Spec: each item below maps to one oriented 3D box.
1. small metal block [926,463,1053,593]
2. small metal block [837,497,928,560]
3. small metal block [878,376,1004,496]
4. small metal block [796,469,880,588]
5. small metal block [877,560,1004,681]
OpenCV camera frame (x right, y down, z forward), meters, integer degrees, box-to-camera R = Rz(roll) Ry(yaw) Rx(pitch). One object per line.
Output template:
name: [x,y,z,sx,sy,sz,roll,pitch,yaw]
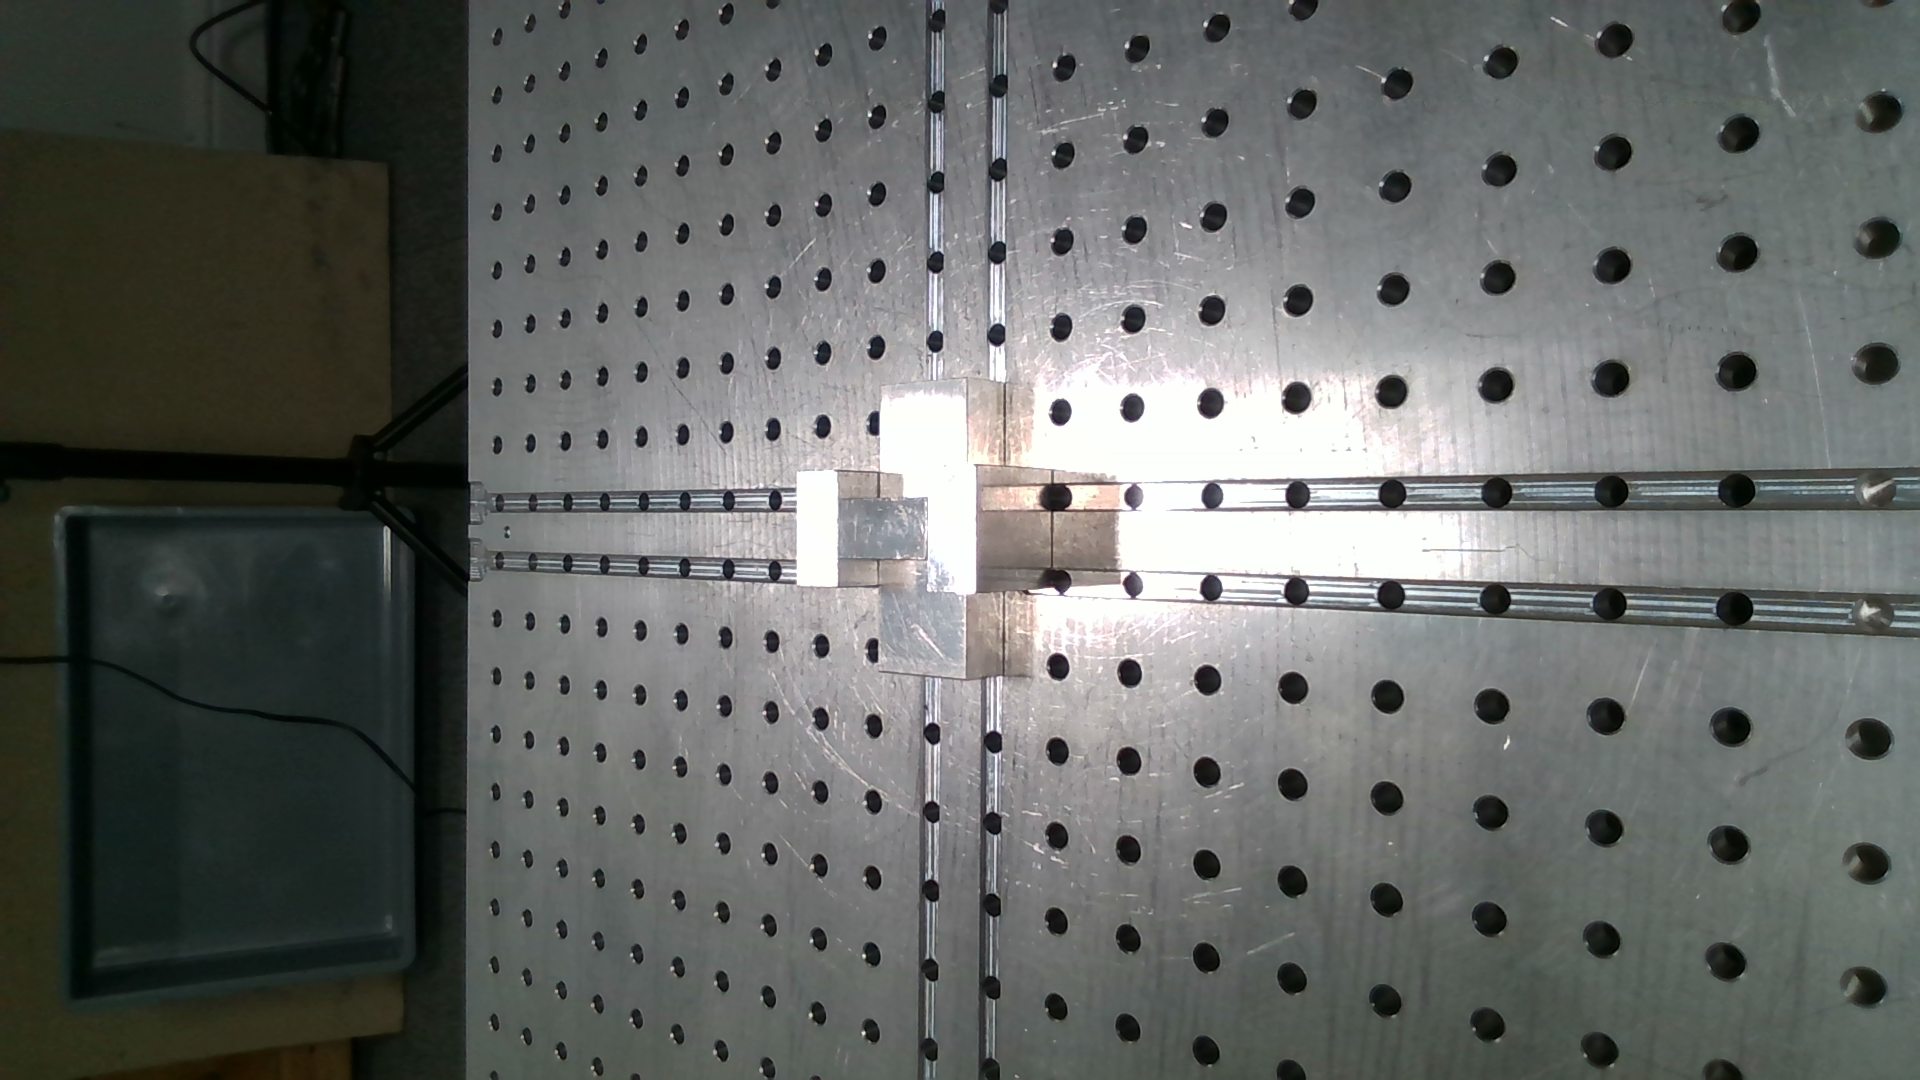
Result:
small metal block: [0.012,-0.005,0.558,0.025,0.050,0.050,1,91,40]
small metal block: [-0.017,-0.005,0.582,0.050,0.050,0.025,1,91,40]
small metal block: [-0.009,-0.043,0.591,0.050,0.025,0.050,1,91,40]
small metal block: [-0.045,-0.005,0.607,0.025,0.050,0.050,1,91,40]
small metal block: [-0.009,0.033,0.592,0.050,0.025,0.050,1,91,40]
